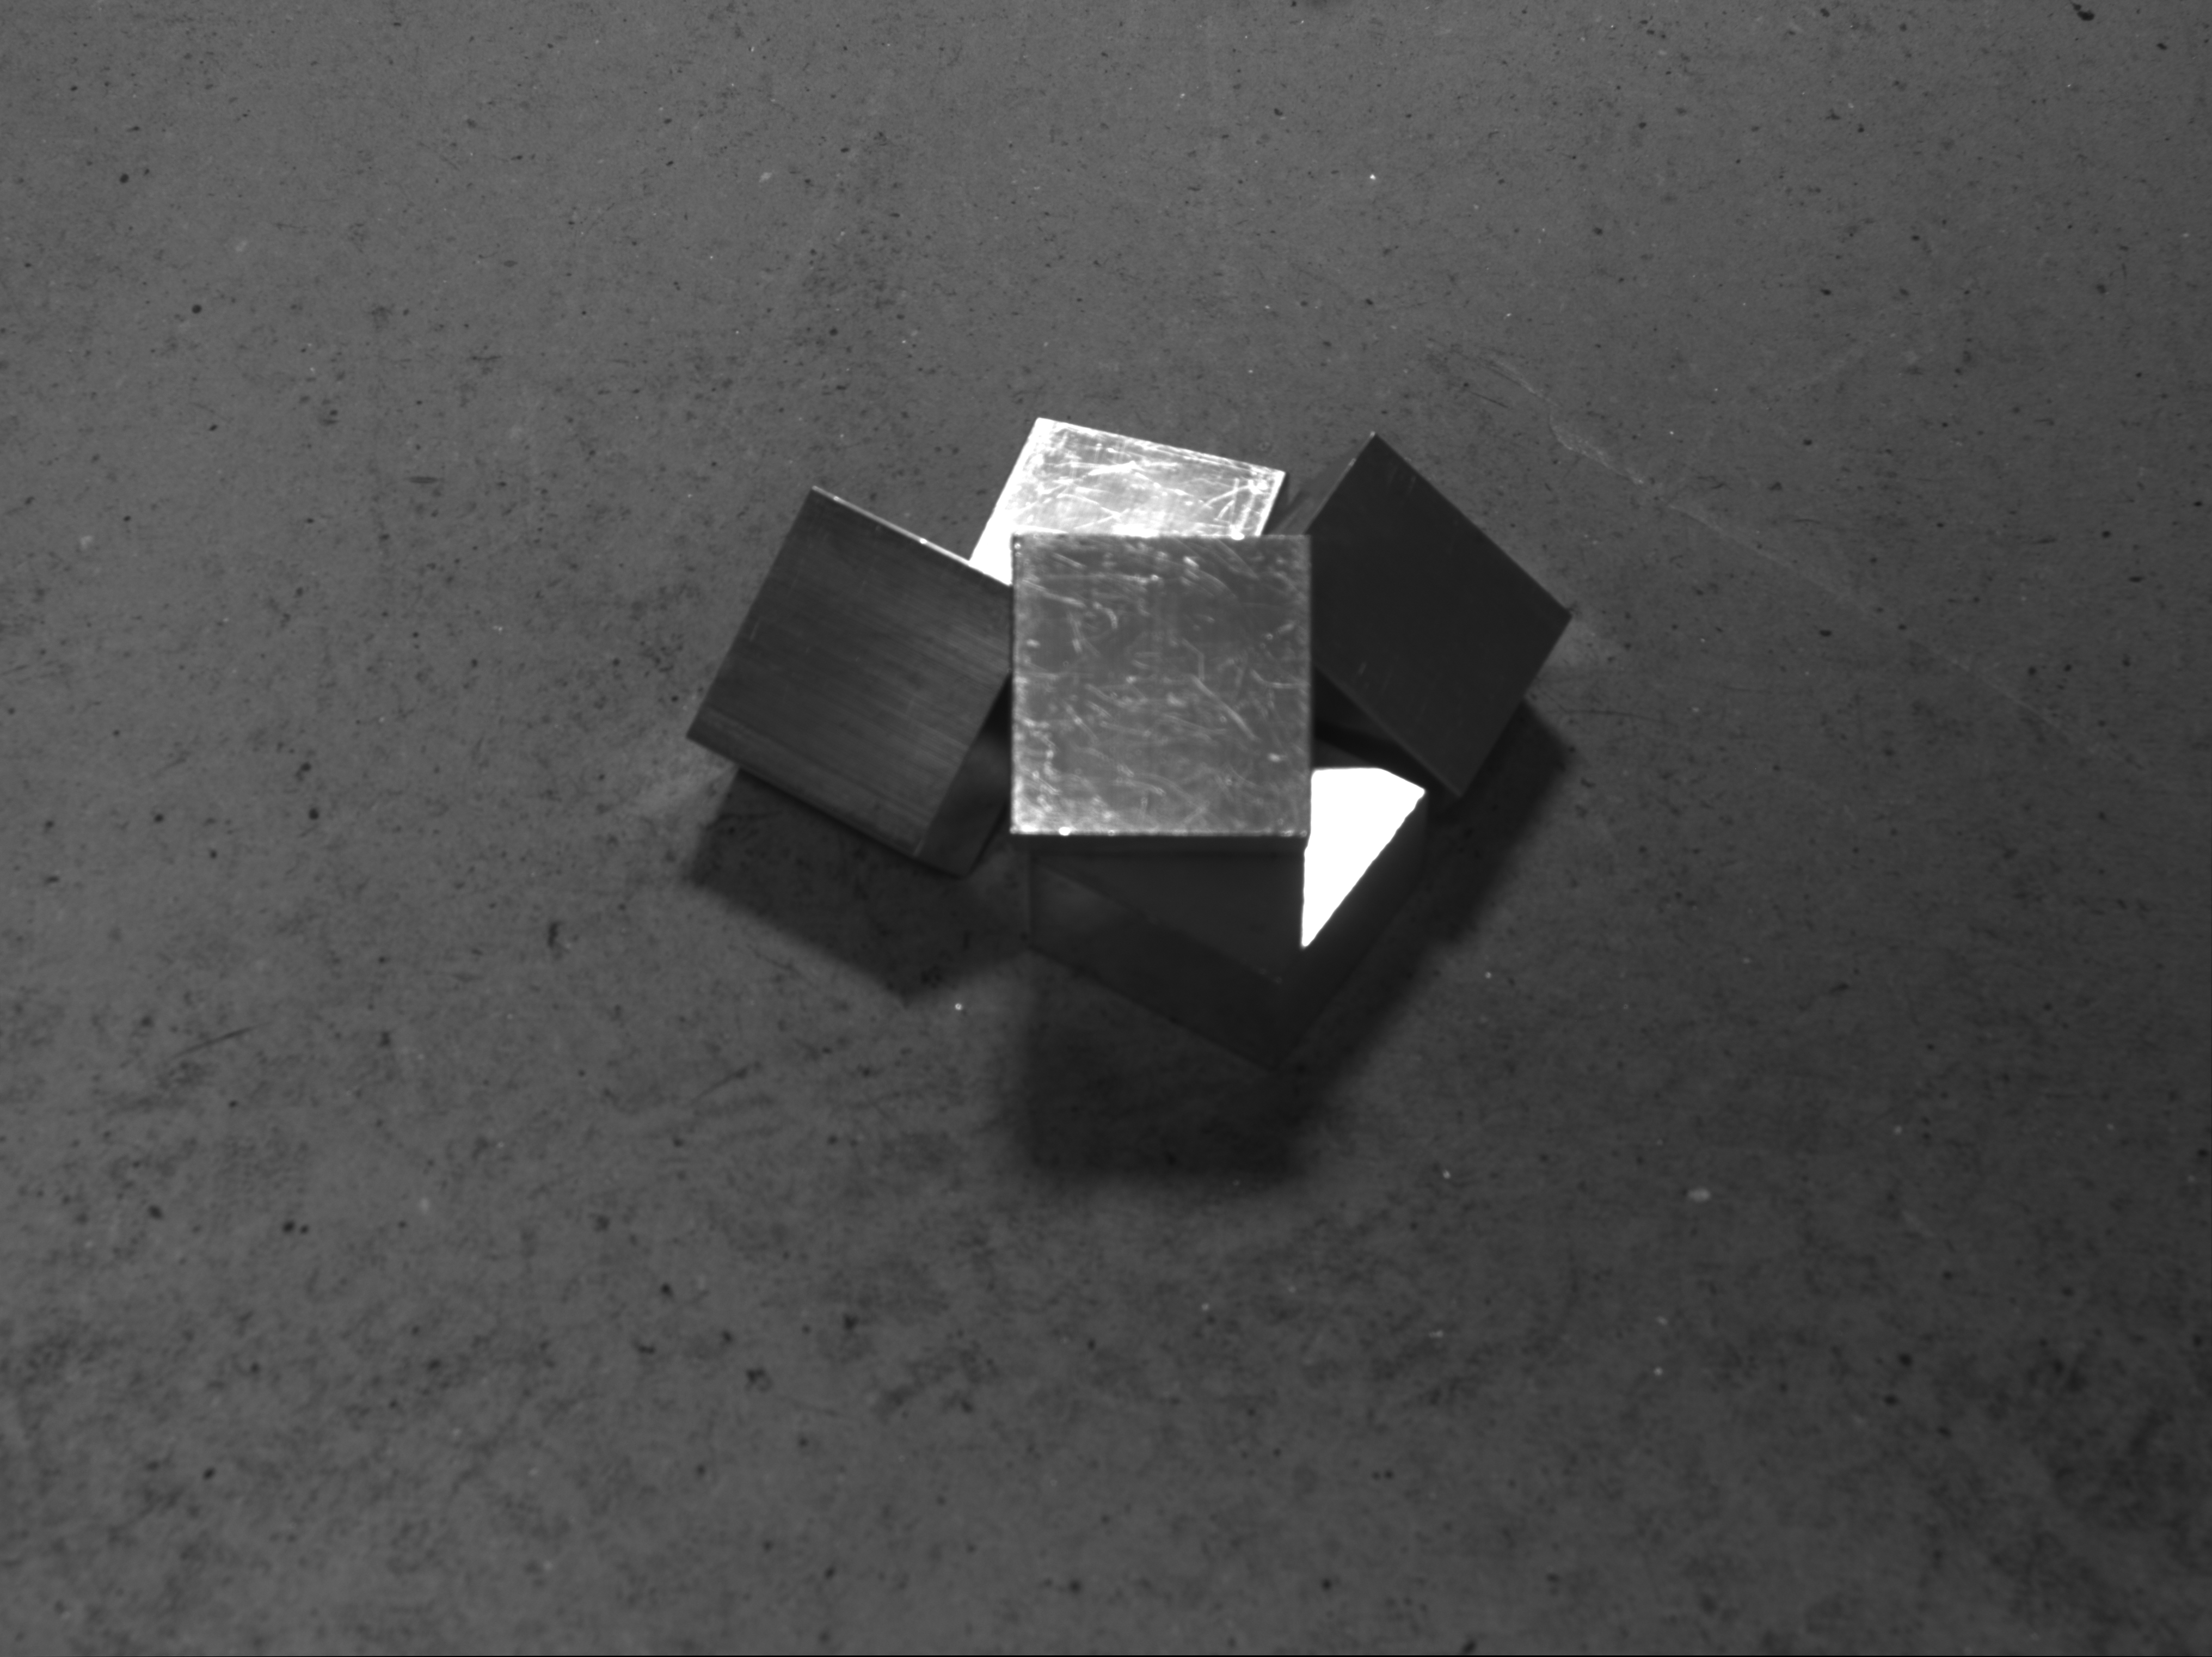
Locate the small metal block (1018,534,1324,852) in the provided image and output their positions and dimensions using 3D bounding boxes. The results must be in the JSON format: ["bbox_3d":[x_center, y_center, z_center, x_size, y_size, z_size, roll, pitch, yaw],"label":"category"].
[{"bbox_3d":[0.011,-0.022,0.613,0.050,0.025,0.050,0,82,0],"label":"small metal block"}]

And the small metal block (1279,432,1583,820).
[{"bbox_3d":[0.050,-0.034,0.656,0.050,0.025,0.050,42,55,-10],"label":"small metal block"}]

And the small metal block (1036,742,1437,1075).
[{"bbox_3d":[0.023,0.008,0.636,0.050,0.025,0.050,26,55,20],"label":"small metal block"}]

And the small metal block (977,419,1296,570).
[{"bbox_3d":[0.004,-0.045,0.681,0.050,0.025,0.050,14,51,11],"label":"small metal block"}]

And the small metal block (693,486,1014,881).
[{"bbox_3d":[-0.037,-0.026,0.649,0.050,0.025,0.050,27,91,20],"label":"small metal block"}]
